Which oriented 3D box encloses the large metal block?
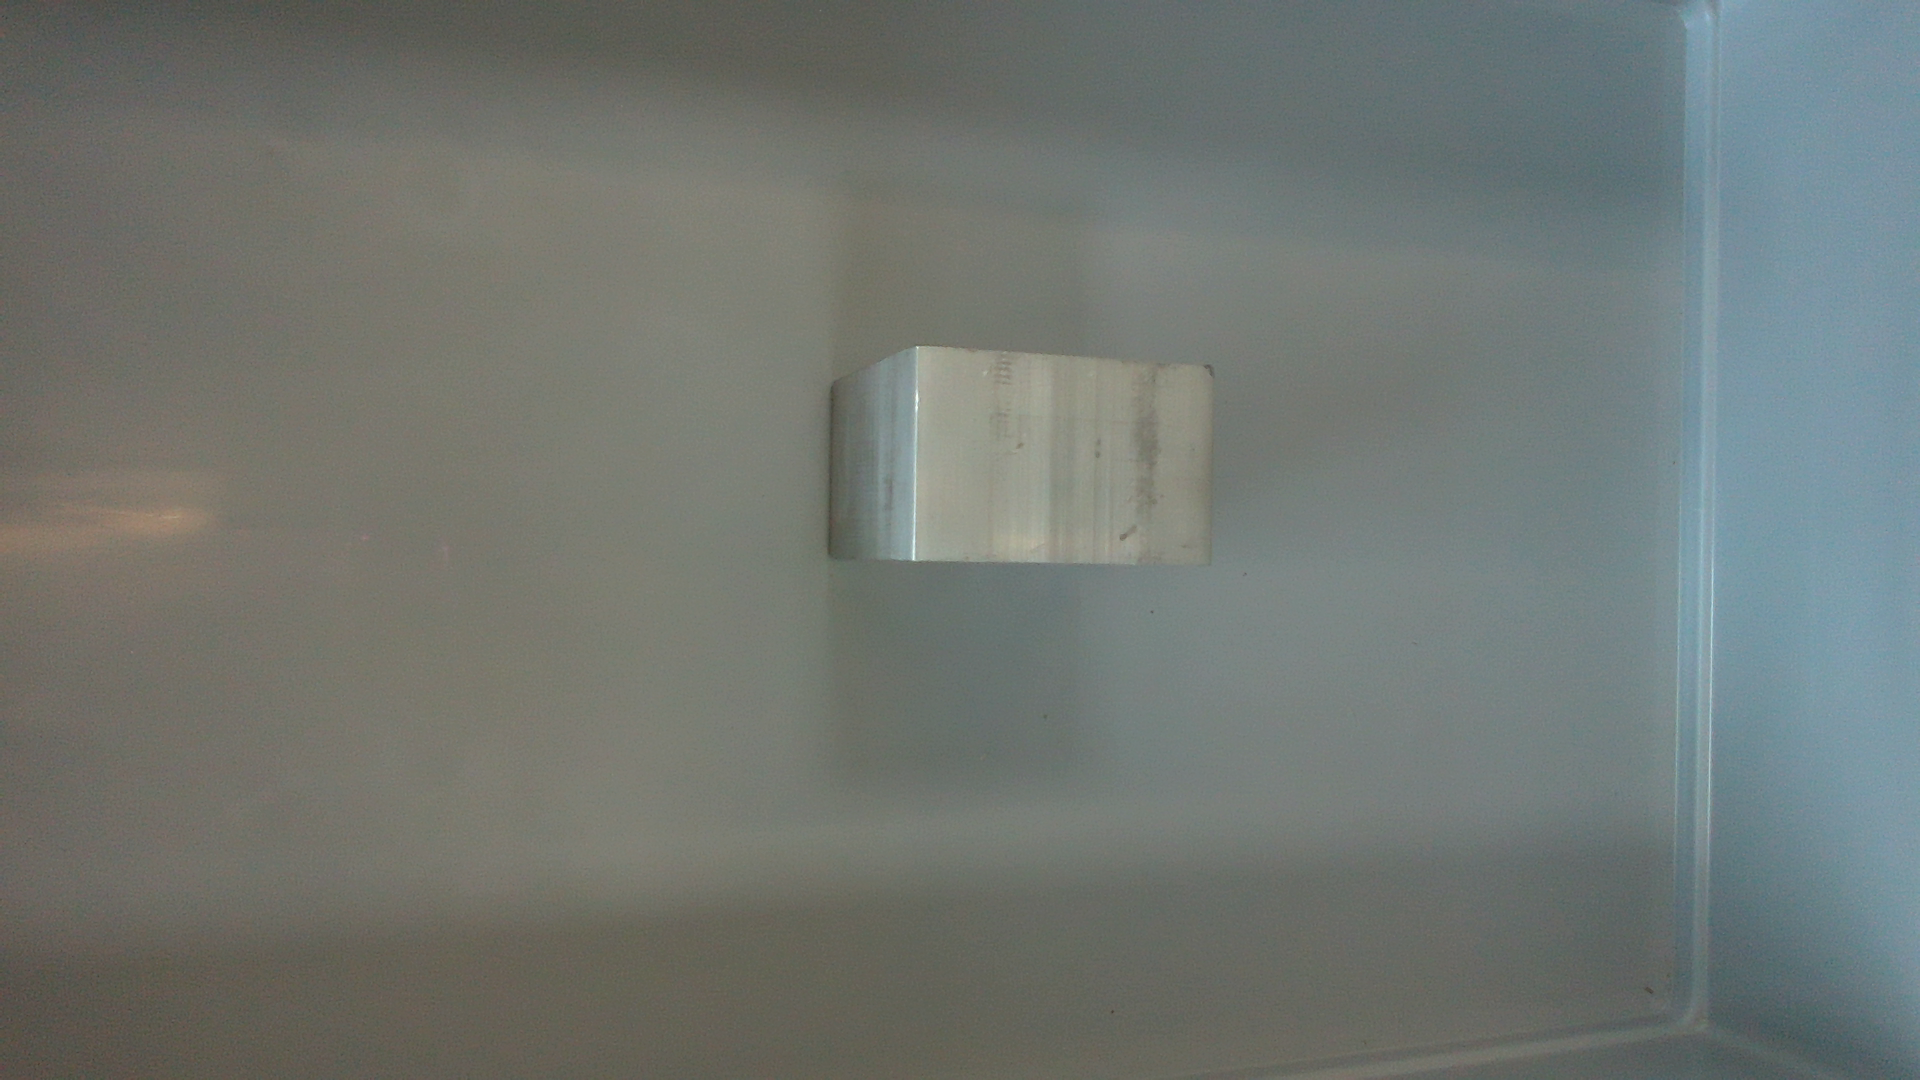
[{"bbox_3d":[0.013,-0.019,0.367,0.080,0.080,0.050,1,90,-20],"label":"large metal block"}]
